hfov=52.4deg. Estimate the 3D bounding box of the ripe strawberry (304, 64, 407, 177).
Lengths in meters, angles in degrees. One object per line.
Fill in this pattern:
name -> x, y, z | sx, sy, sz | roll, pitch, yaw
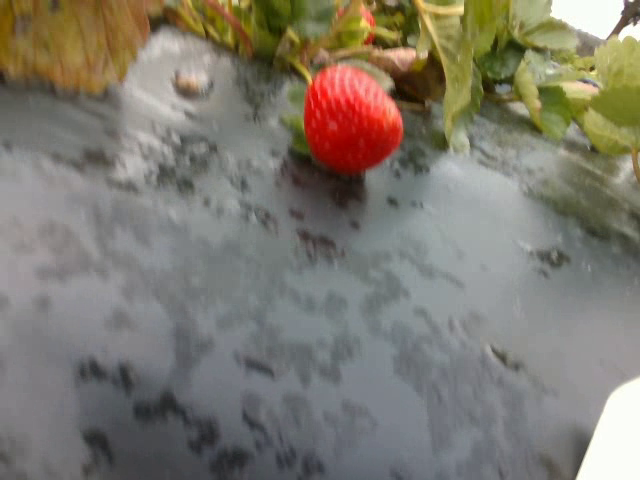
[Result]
ripe strawberry -> 0.017, -0.046, 0.258 | 0.045, 0.048, 0.053 | -10, 20, -16
